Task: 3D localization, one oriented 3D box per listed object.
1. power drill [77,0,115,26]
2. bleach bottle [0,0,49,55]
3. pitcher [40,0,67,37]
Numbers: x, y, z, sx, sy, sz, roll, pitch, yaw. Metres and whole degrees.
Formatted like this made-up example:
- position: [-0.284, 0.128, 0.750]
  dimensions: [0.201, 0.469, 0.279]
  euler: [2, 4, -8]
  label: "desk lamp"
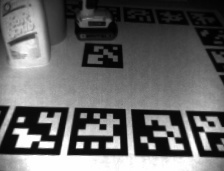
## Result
- position: [-0.020, -0.243, 0.542]
  dimensions: [0.185, 0.187, 0.057]
  euler: [1, 51, -10]
  label: "power drill"
- position: [-0.199, -0.178, 0.432]
  dimensions: [0.103, 0.252, 0.067]
  euler: [-5, 49, -6]
  label: "bleach bottle"
- position: [-0.188, -0.240, 0.515]
  dimensions: [0.190, 0.243, 0.132]
  euler: [-20, 53, -19]
  label: "pitcher"
